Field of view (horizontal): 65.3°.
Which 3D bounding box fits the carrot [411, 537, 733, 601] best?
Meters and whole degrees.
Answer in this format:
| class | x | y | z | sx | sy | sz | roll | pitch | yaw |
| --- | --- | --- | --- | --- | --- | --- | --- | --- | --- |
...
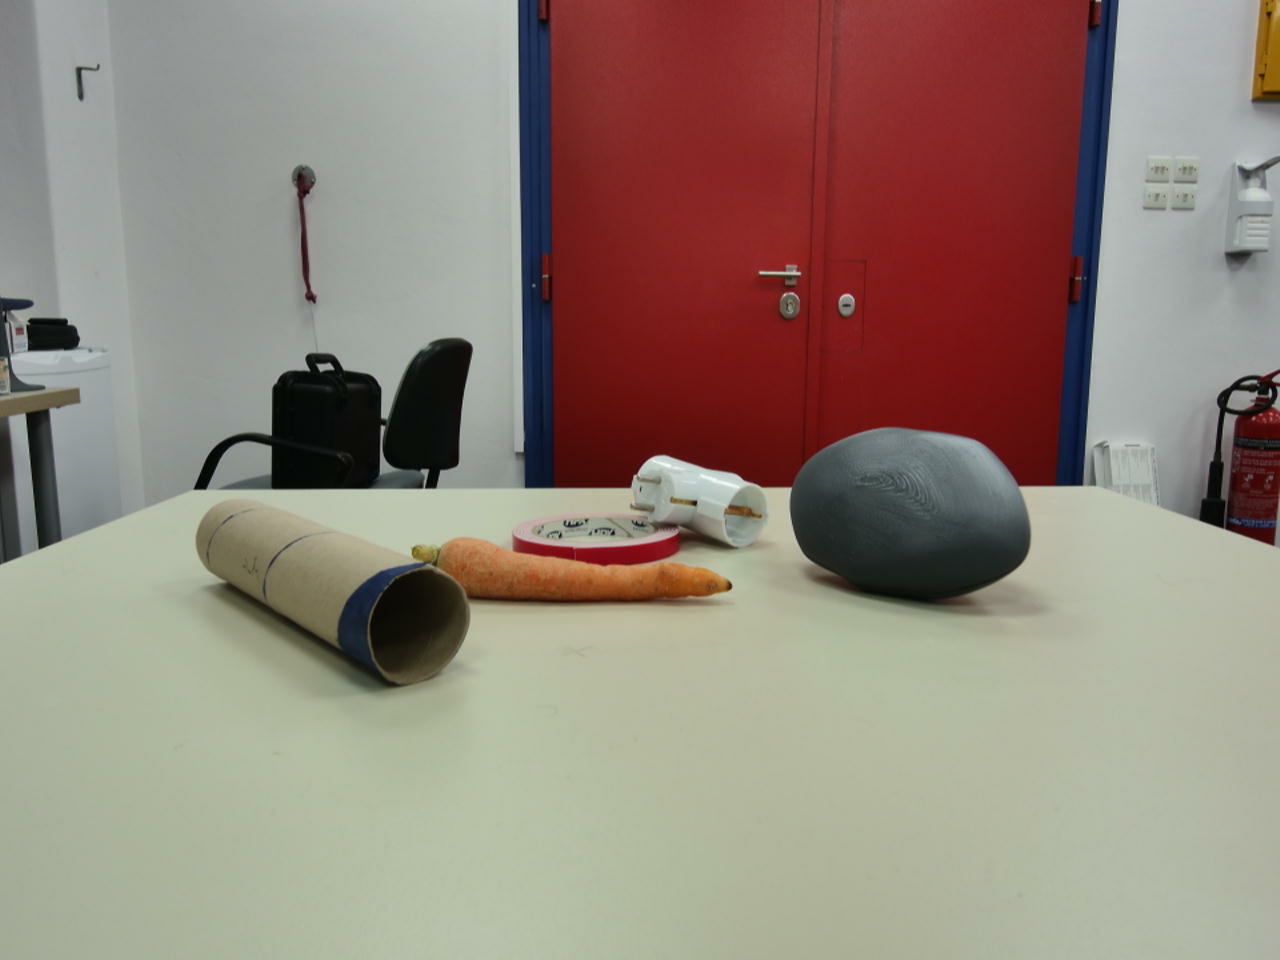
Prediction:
| class | x | y | z | sx | sy | sz | roll | pitch | yaw |
| --- | --- | --- | --- | --- | --- | --- | --- | --- | --- |
| carrot | -0.037 | 0.048 | 0.531 | 0.173 | 0.032 | 0.030 | 1 | 6 | 9 |
